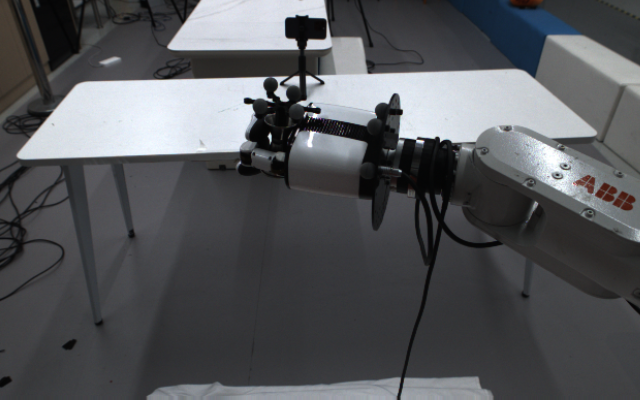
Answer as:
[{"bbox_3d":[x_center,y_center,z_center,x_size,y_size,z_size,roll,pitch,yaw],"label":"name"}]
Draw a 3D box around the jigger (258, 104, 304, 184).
[{"bbox_3d":[-0.051,-0.066,0.589,0.043,0.071,0.043,6,32,-4],"label":"jigger"}]
